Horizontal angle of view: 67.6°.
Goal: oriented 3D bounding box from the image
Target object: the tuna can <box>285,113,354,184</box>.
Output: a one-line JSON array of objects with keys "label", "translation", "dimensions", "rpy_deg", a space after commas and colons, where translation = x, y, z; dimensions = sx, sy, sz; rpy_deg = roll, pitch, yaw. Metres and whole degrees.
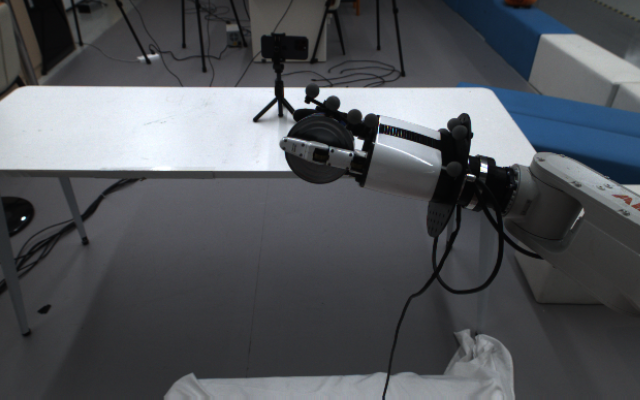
[{"label": "tuna can", "translation": [0.002, -0.067, 0.605], "dimensions": [0.085, 0.085, 0.034], "rpy_deg": [7, 16, 6]}]
